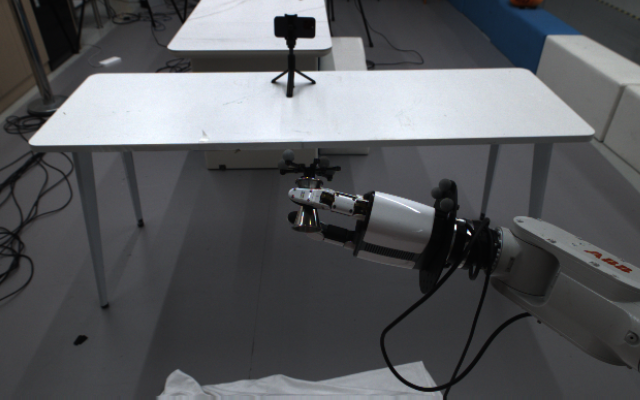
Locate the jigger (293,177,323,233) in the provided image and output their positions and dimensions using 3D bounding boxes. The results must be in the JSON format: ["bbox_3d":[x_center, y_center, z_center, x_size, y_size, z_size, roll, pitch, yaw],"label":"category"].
[{"bbox_3d":[-0.017,0.006,0.665,0.043,0.043,0.071,3,76,1],"label":"jigger"}]
